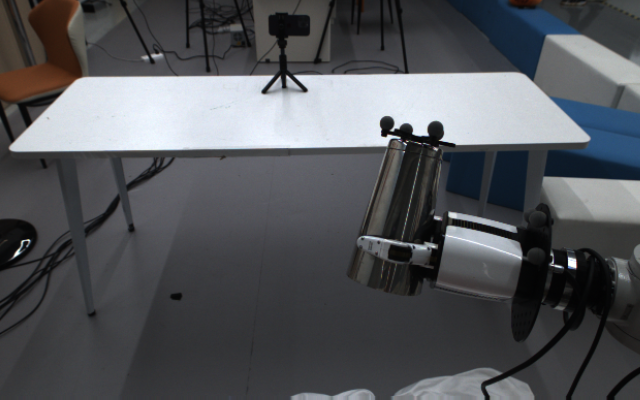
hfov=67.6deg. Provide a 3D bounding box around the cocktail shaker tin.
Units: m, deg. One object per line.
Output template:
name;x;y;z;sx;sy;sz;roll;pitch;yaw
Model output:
cocktail shaker tin;0.097;0.018;0.581;0.093;0.170;0.093;13;4;-1
